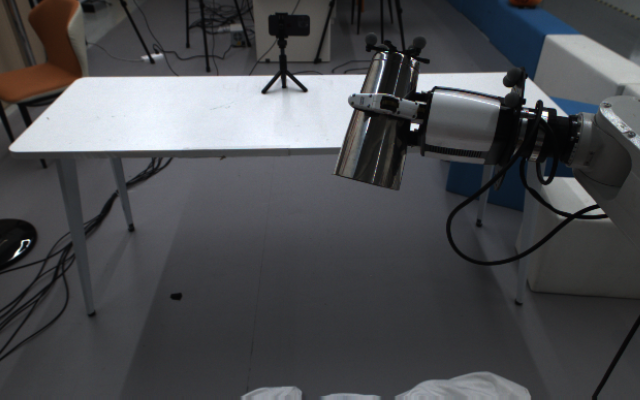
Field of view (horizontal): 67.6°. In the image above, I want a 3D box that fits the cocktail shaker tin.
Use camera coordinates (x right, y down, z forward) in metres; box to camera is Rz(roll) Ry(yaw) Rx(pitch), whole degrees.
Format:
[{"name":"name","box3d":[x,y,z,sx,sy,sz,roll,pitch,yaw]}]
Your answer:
[{"name":"cocktail shaker tin","box3d":[0.083,-0.107,0.655,0.093,0.170,0.093,14,2,0]}]
